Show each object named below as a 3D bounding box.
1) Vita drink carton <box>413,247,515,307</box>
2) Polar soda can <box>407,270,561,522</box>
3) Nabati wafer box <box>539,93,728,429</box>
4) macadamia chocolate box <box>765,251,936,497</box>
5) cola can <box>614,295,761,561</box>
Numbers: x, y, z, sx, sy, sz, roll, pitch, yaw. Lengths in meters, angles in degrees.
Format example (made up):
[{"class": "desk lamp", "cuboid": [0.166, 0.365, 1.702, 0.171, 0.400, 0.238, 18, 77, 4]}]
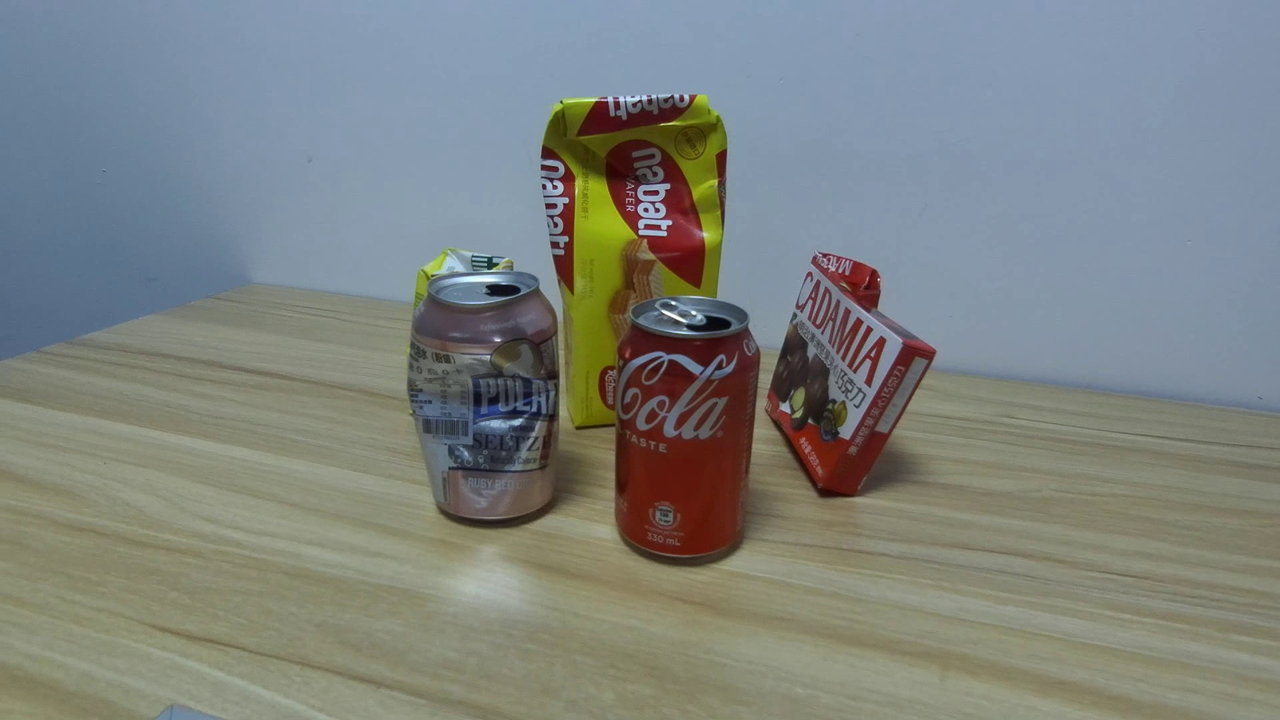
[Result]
[{"class": "Vita drink carton", "cuboid": [-0.119, -0.014, 0.458, 0.071, 0.109, 0.047, 15, 23, 34]}, {"class": "Polar soda can", "cuboid": [-0.075, 0.020, 0.364, 0.074, 0.122, 0.067, 16, 27, 33]}, {"class": "Nabati wafer box", "cuboid": [-0.002, -0.058, 0.448, 0.113, 0.205, 0.042, -5, 19, -12]}, {"class": "macadamia chocolate box", "cuboid": [0.120, 0.004, 0.426, 0.056, 0.112, 0.126, 1, 22, -5]}, {"class": "cola can", "cuboid": [0.022, 0.033, 0.343, 0.068, 0.120, 0.068, 2, 21, 0]}]
